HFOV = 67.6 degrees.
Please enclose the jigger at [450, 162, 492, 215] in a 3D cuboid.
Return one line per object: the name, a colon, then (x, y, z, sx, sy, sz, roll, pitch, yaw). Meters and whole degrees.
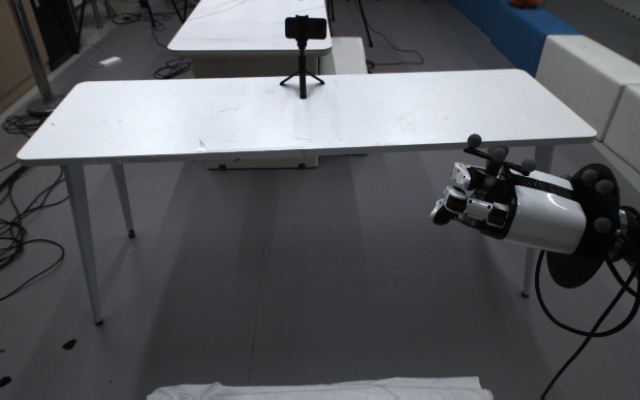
jigger: (0.200, -0.002, 0.606, 0.043, 0.071, 0.043, 18, 17, -6)
